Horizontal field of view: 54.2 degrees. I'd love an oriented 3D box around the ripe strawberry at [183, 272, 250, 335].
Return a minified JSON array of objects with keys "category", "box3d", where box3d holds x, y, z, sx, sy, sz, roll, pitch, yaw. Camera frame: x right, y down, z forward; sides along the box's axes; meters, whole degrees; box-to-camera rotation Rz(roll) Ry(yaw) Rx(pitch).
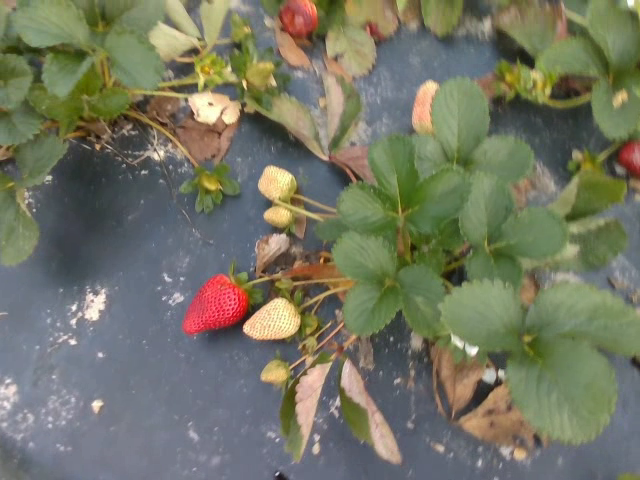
[{"category":"ripe strawberry","box3d":[-0.081,0.051,0.463,0.050,0.059,0.034,36,-28,14]}]
